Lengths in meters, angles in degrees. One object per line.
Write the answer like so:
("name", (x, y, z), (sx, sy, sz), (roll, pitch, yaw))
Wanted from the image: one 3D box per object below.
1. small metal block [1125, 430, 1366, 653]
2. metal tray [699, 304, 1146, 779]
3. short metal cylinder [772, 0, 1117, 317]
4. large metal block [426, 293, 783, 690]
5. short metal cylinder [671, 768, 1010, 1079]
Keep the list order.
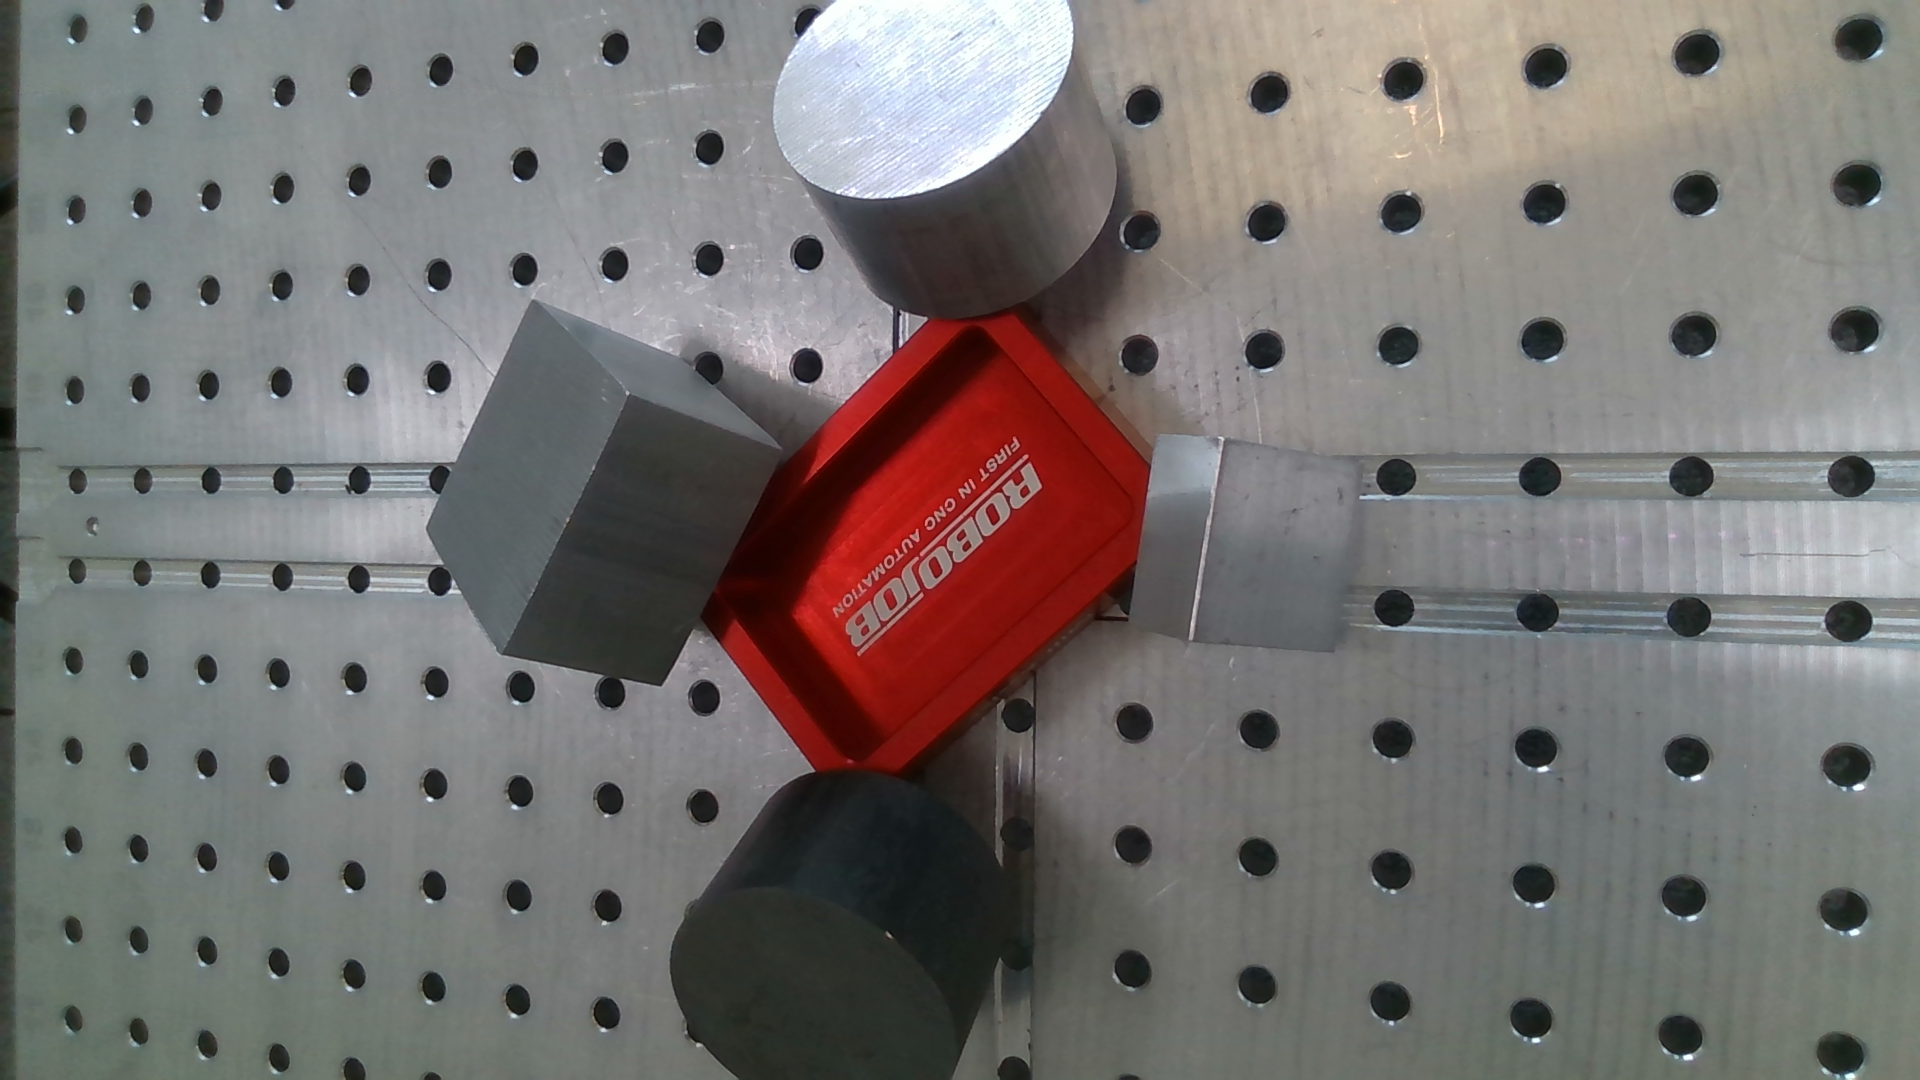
("small metal block", (0.073, 0.001, 0.353), (0.025, 0.050, 0.050), (14, 96, 58))
("metal tray", (-0.008, 0.002, 0.396), (0.130, 0.030, 0.090), (-43, 77, 15))
("short metal cylinder", (-0.003, -0.107, 0.367), (0.080, 0.050, 0.080), (-9, 62, 16))
("large metal block", (-0.107, -0.015, 0.404), (0.080, 0.050, 0.080), (41, 106, 47))
("short metal cylinder", (-0.032, 0.111, 0.379), (0.080, 0.050, 0.080), (9, 119, 16))
